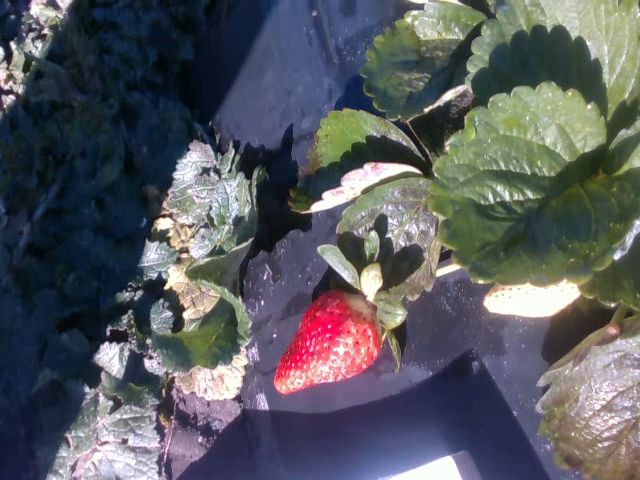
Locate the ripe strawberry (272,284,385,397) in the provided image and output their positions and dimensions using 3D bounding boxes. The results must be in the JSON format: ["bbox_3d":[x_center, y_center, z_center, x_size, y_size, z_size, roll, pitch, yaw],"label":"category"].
[{"bbox_3d":[0.001,0.050,0.286,0.040,0.069,0.048,27,21,-55],"label":"ripe strawberry"}]
